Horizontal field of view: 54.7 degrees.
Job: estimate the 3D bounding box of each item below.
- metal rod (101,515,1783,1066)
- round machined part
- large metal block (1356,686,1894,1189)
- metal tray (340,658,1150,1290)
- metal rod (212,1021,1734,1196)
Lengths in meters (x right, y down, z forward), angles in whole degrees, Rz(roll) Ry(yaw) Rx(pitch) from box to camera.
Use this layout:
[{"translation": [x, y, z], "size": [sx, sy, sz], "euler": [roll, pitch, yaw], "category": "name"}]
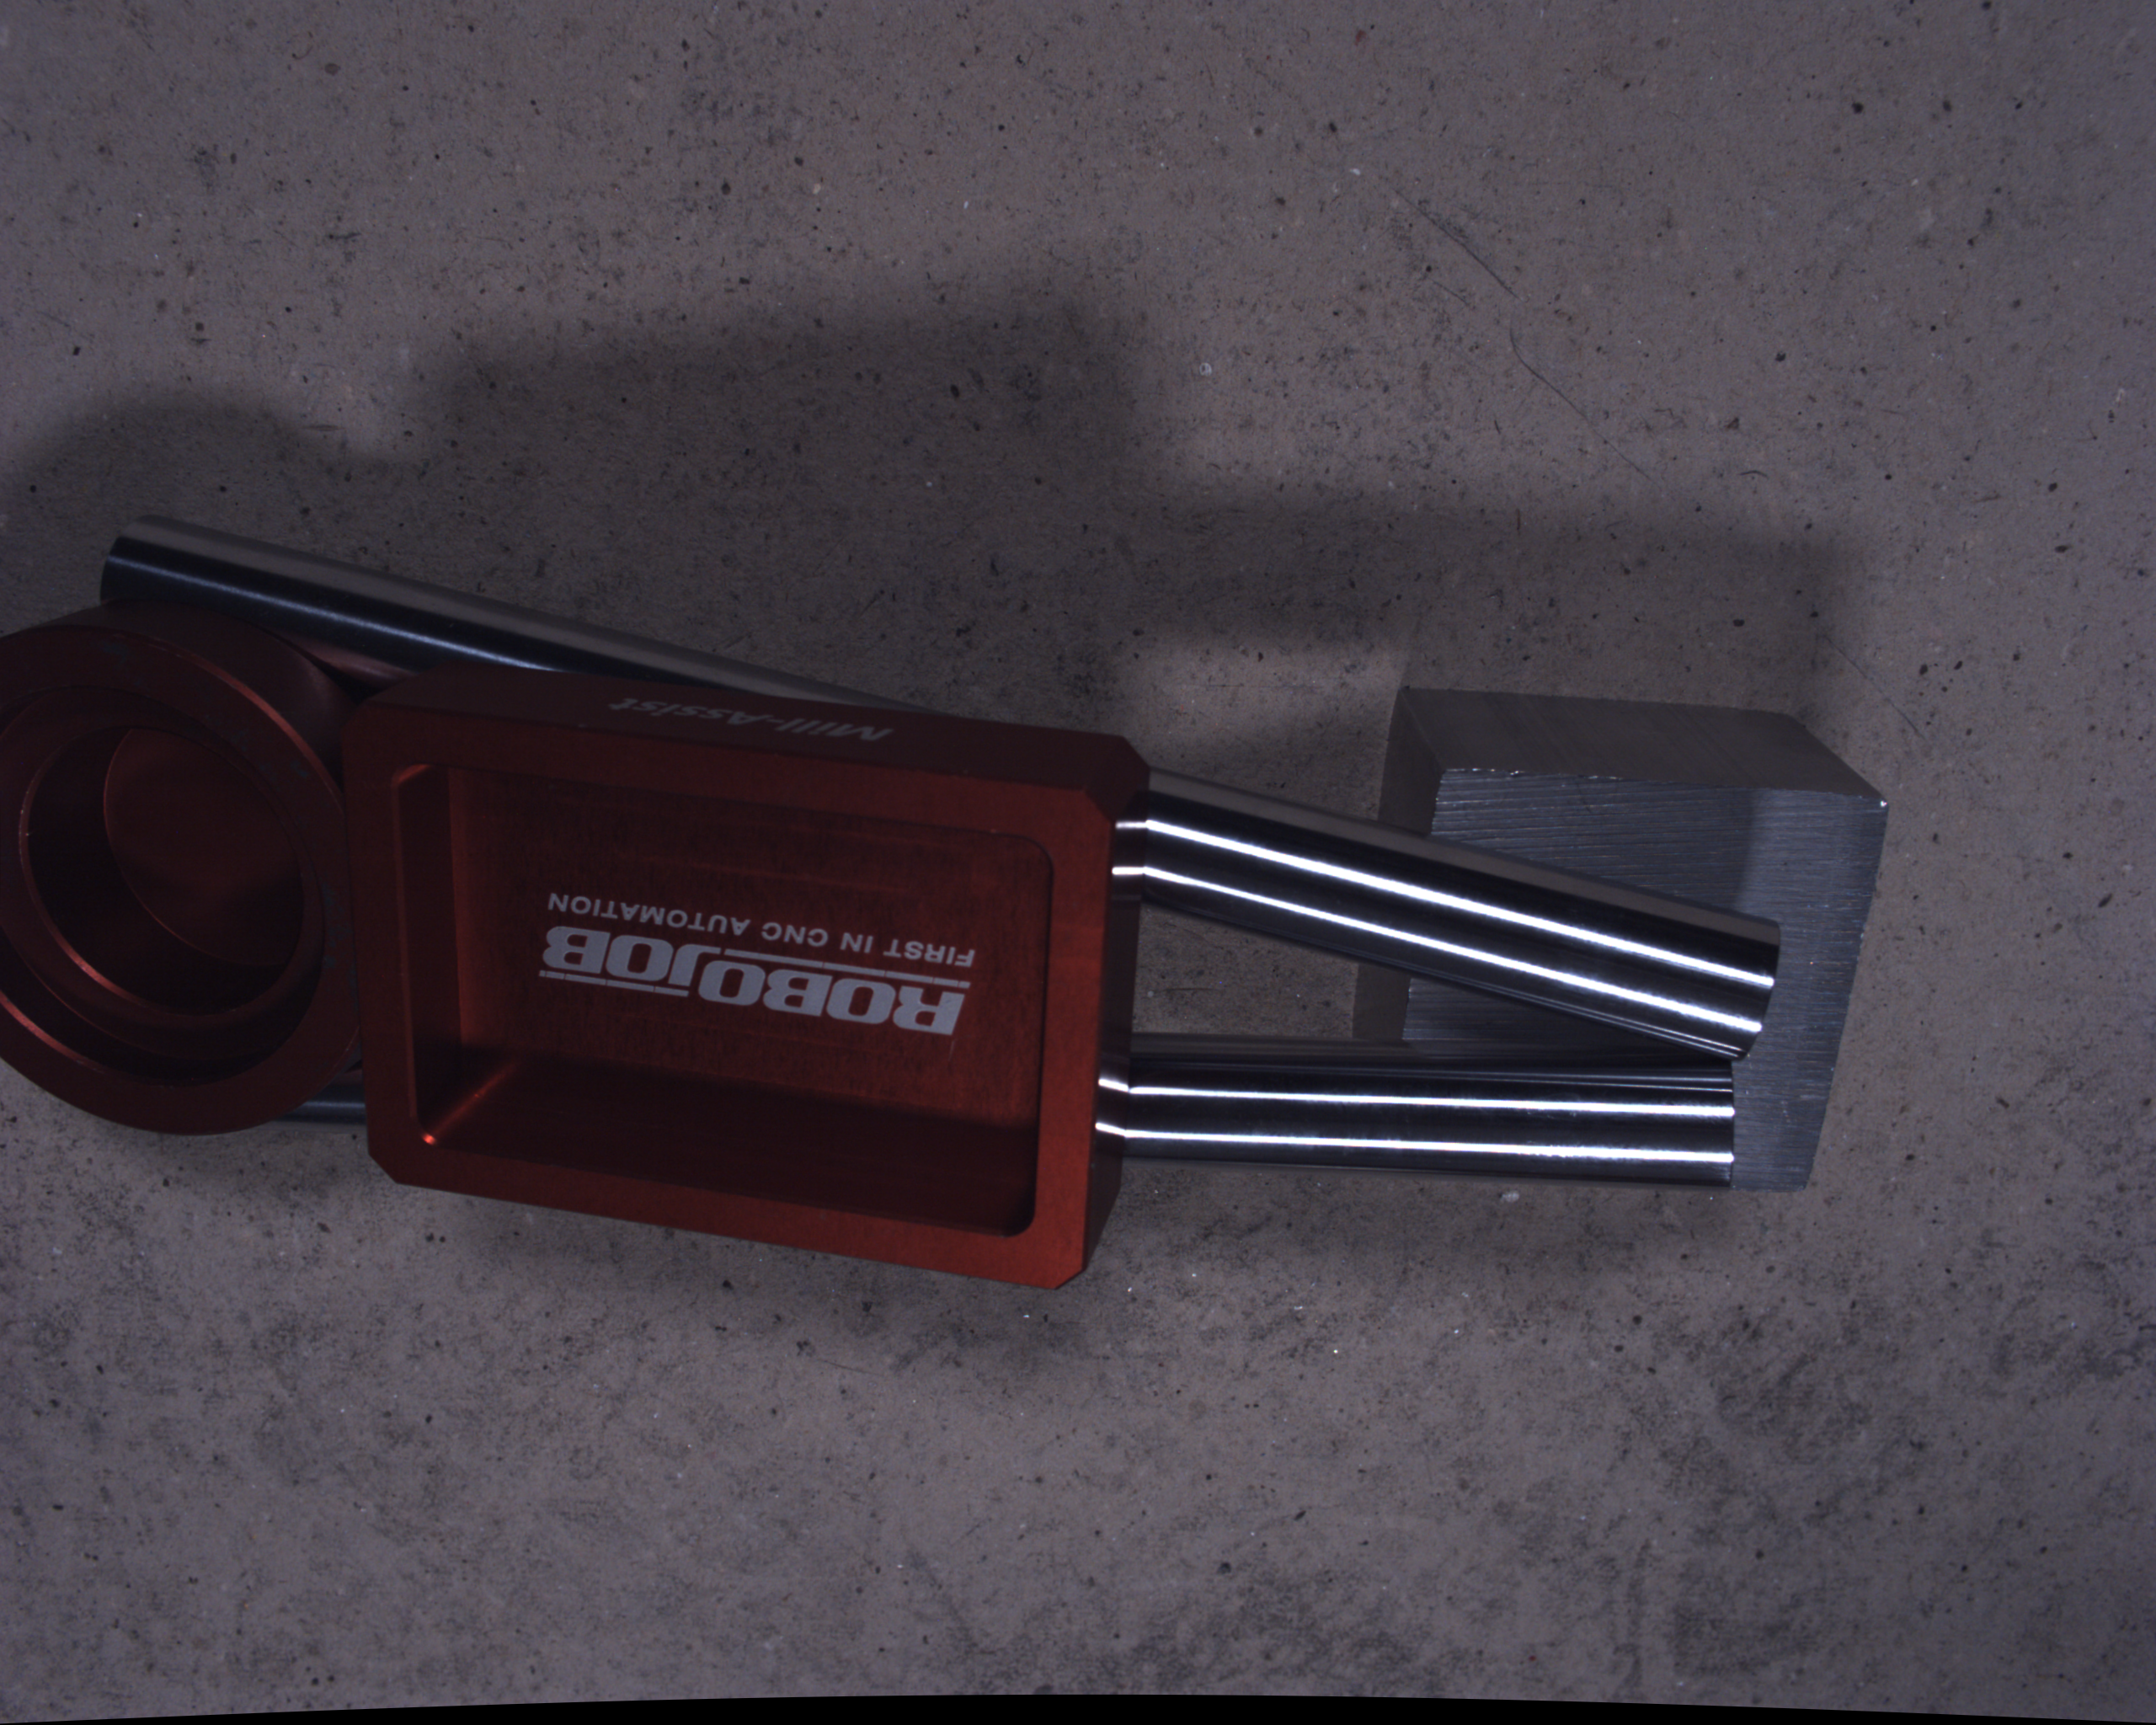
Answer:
[{"translation": [-0.030, -0.015, 0.370], "size": [0.301, 0.025, 0.025], "euler": [15, 110, 8], "category": "metal rod"}, {"translation": [-0.166, -0.002, 0.393], "size": [0.098, 0.042, 0.097], "euler": [3, 110, 9], "category": "round machined part"}, {"translation": [0.101, 0.013, 0.402], "size": [0.081, 0.050, 0.079], "euler": [4, 110, -2], "category": "large metal block"}, {"translation": [-0.057, 0.018, 0.359], "size": [0.131, 0.030, 0.089], "euler": [7, 110, 10], "category": "metal tray"}, {"translation": [-0.035, 0.044, 0.392], "size": [0.301, 0.025, 0.025], "euler": [1, 111, 13], "category": "metal rod"}]
